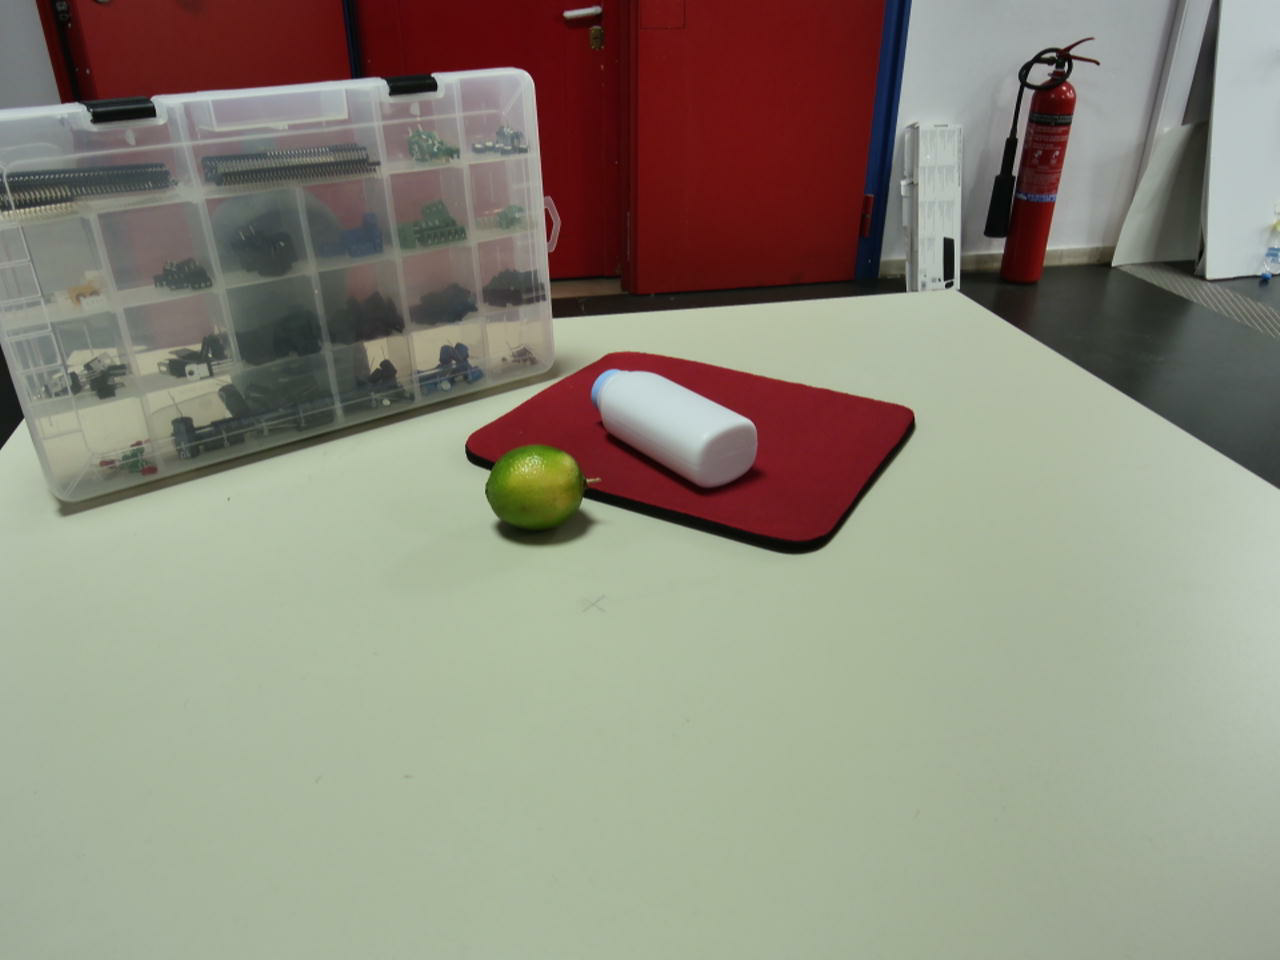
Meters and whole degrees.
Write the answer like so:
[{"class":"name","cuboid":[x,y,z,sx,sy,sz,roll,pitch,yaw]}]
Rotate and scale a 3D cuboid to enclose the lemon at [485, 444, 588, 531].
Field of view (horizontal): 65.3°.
[{"class":"lemon","cuboid":[-0.062,0.004,0.596,0.055,0.050,0.054,20,32,33]}]
